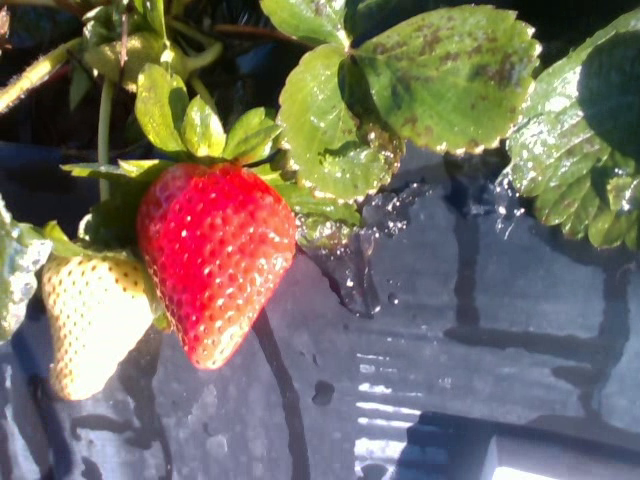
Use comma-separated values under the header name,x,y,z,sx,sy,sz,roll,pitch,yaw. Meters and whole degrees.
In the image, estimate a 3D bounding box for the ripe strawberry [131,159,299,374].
name,x,y,z,sx,sy,sz,roll,pitch,yaw
ripe strawberry,-0.026,0.012,0.163,0.043,0.061,0.046,-2,-28,15
